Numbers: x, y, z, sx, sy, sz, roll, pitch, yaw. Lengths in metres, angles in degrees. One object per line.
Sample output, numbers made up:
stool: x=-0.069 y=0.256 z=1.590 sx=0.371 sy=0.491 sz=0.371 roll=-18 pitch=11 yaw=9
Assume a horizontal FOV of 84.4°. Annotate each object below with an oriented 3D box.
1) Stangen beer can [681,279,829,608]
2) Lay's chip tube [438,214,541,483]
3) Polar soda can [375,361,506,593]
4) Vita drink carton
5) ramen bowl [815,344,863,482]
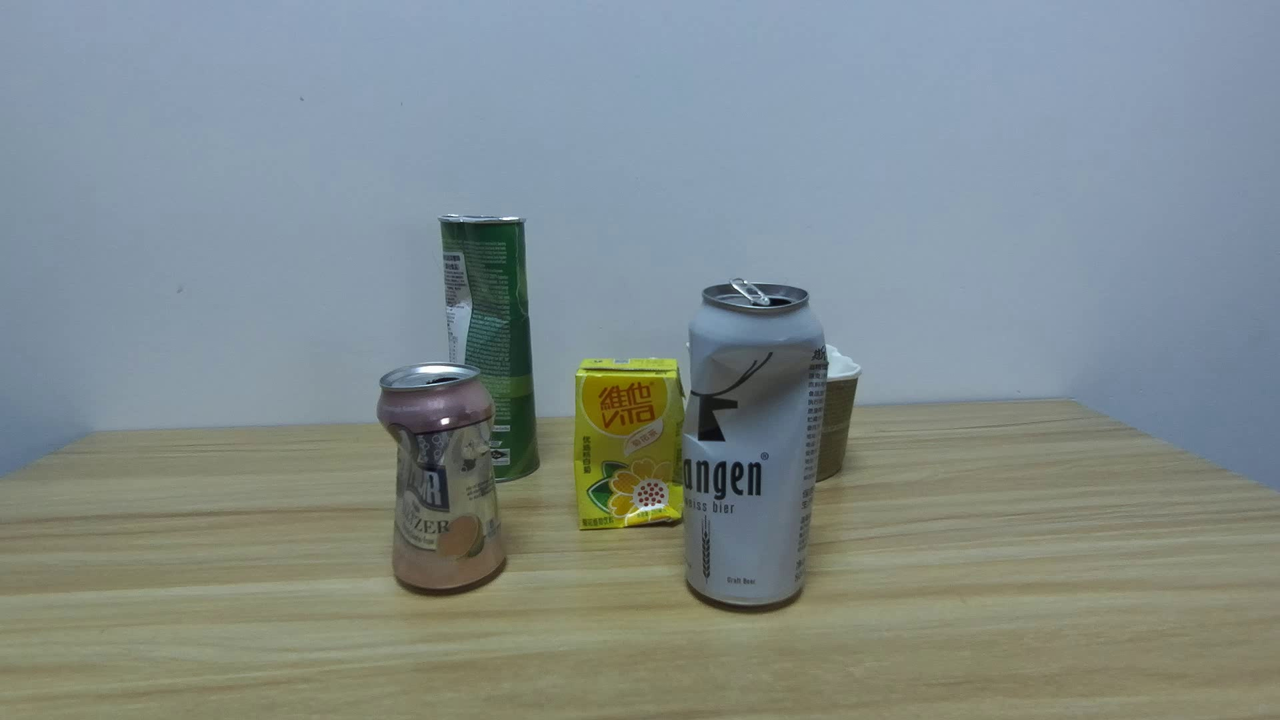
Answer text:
Stangen beer can: x=0.058 y=0.045 z=0.376 sx=0.070 sy=0.173 sz=0.070 roll=-14 pitch=20 yaw=-41
Lay's chip tube: x=-0.118 y=-0.009 z=0.550 sx=0.075 sy=0.199 sz=0.069 roll=-1 pitch=14 yaw=1
Polar soda can: x=-0.115 y=0.068 z=0.406 sx=0.067 sy=0.122 sz=0.074 roll=-1 pitch=11 yaw=3
Vita drink carton: x=-0.005 y=0.056 z=0.470 sx=0.076 sy=0.109 sz=0.043 roll=0 pitch=15 yaw=-1
ramen bowl: x=0.118 y=0.035 z=0.570 sx=0.114 sy=0.097 sz=0.133 roll=1 pitch=13 yaw=-13
